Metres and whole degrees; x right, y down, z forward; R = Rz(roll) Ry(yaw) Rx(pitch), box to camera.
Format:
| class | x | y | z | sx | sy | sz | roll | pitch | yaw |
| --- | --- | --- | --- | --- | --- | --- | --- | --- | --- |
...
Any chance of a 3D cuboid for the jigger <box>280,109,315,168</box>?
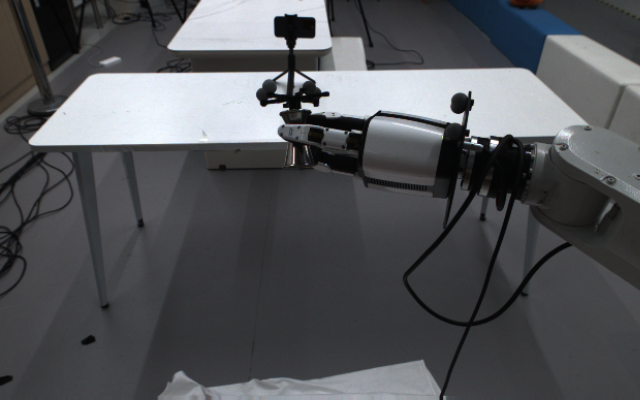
| class | x | y | z | sx | sy | sz | roll | pitch | yaw |
| --- | --- | --- | --- | --- | --- | --- | --- | --- | --- |
| jigger | -0.028 | -0.075 | 0.600 | 0.043 | 0.071 | 0.043 | -4 | 1 | 0 |
